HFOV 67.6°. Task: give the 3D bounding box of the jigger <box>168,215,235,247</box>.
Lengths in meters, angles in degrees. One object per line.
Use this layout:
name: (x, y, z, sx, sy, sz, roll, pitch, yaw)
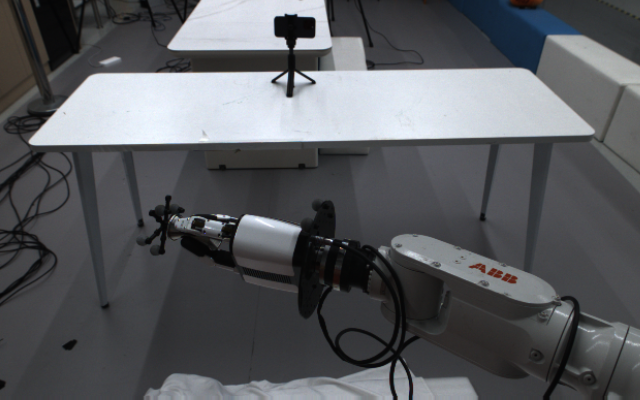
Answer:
jigger: (-0.173, 0.041, 0.693, 0.071, 0.043, 0.043, 10, 35, 16)
